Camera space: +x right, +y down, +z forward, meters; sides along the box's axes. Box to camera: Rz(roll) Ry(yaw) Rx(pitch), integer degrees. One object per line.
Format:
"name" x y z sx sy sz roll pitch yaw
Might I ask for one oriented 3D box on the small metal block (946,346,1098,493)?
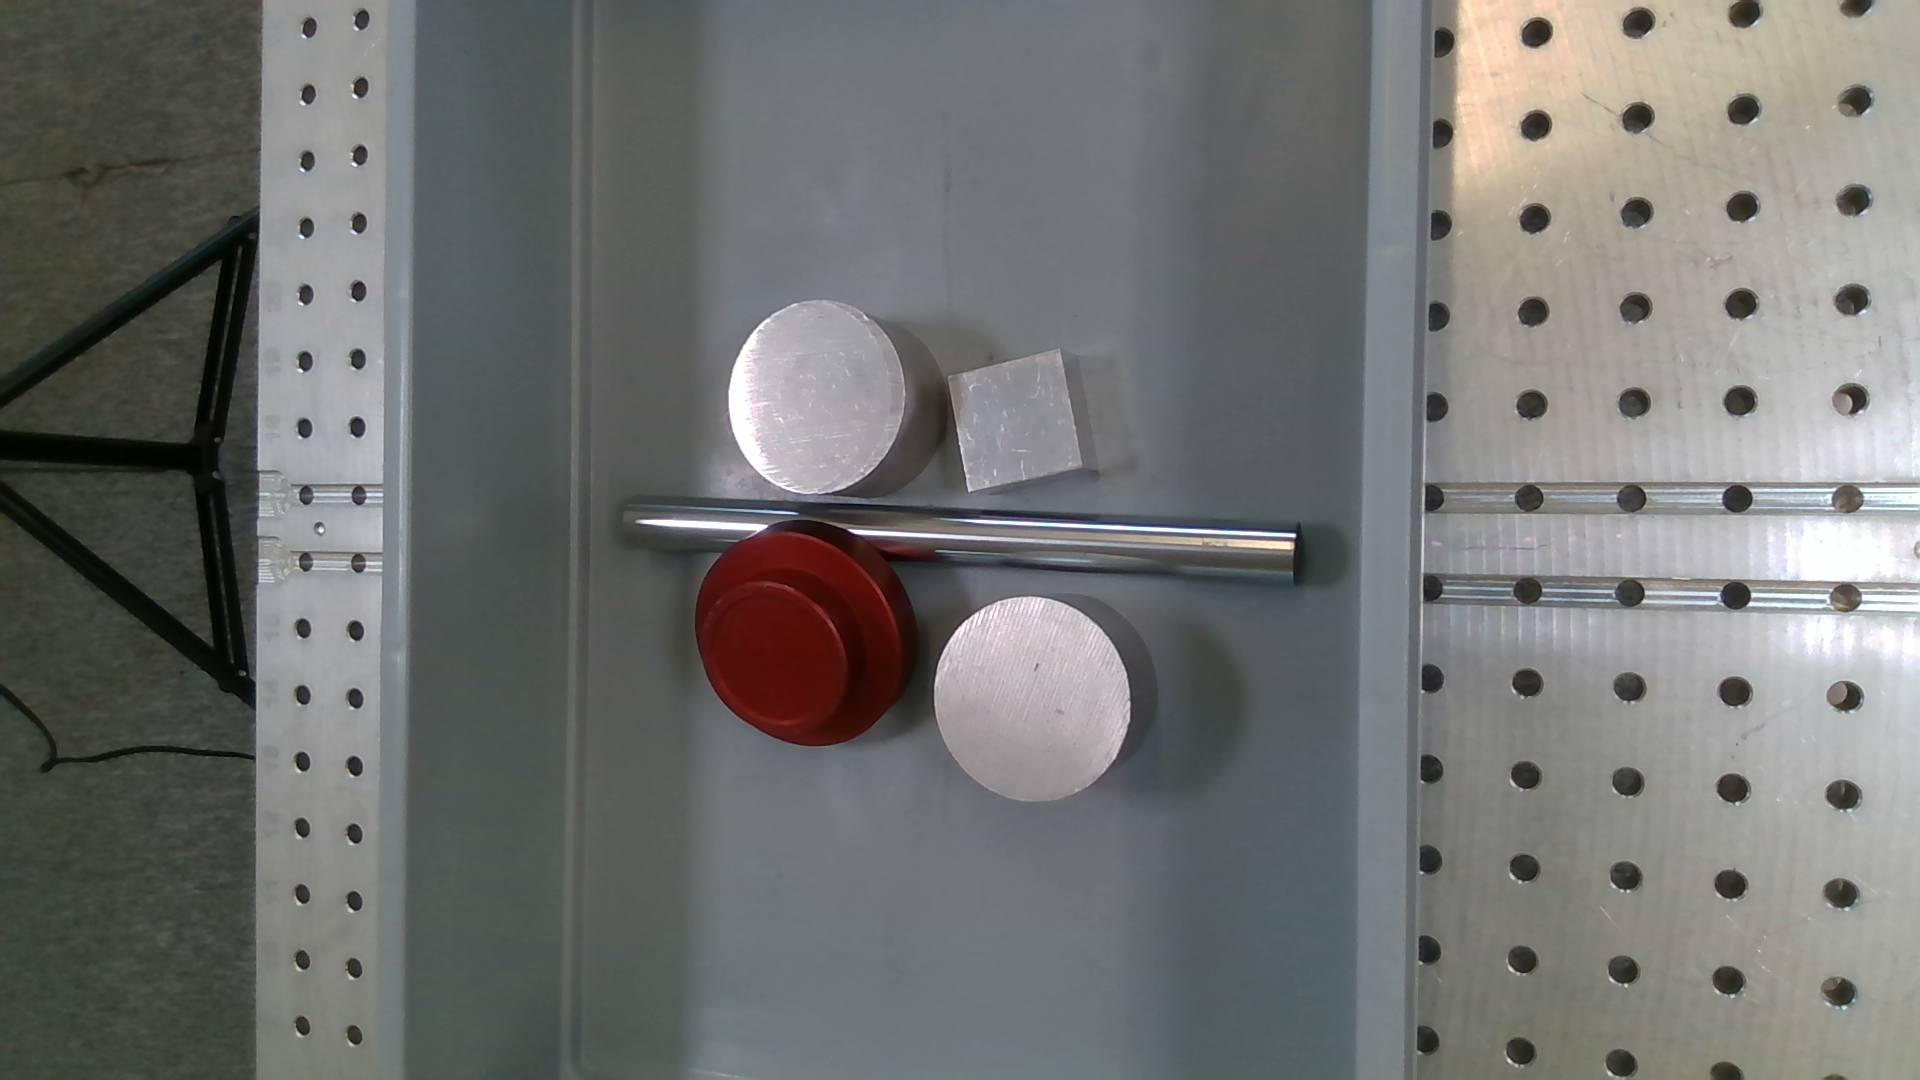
"small metal block" 0.026 -0.049 0.574 0.050 0.025 0.050 -12 86 20

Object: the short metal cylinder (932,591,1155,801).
"short metal cylinder" 0.035 0.062 0.558 0.080 0.050 0.080 0 91 20

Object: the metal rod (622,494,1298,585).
"metal rod" -0.009 -0.002 0.588 0.300 0.025 0.025 3 91 20

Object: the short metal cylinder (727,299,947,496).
"short metal cylinder" -0.052 -0.059 0.589 0.080 0.050 0.080 0 91 20

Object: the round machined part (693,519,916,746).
"round machined part" -0.071 0.044 0.589 0.098 0.042 0.098 6 108 18
